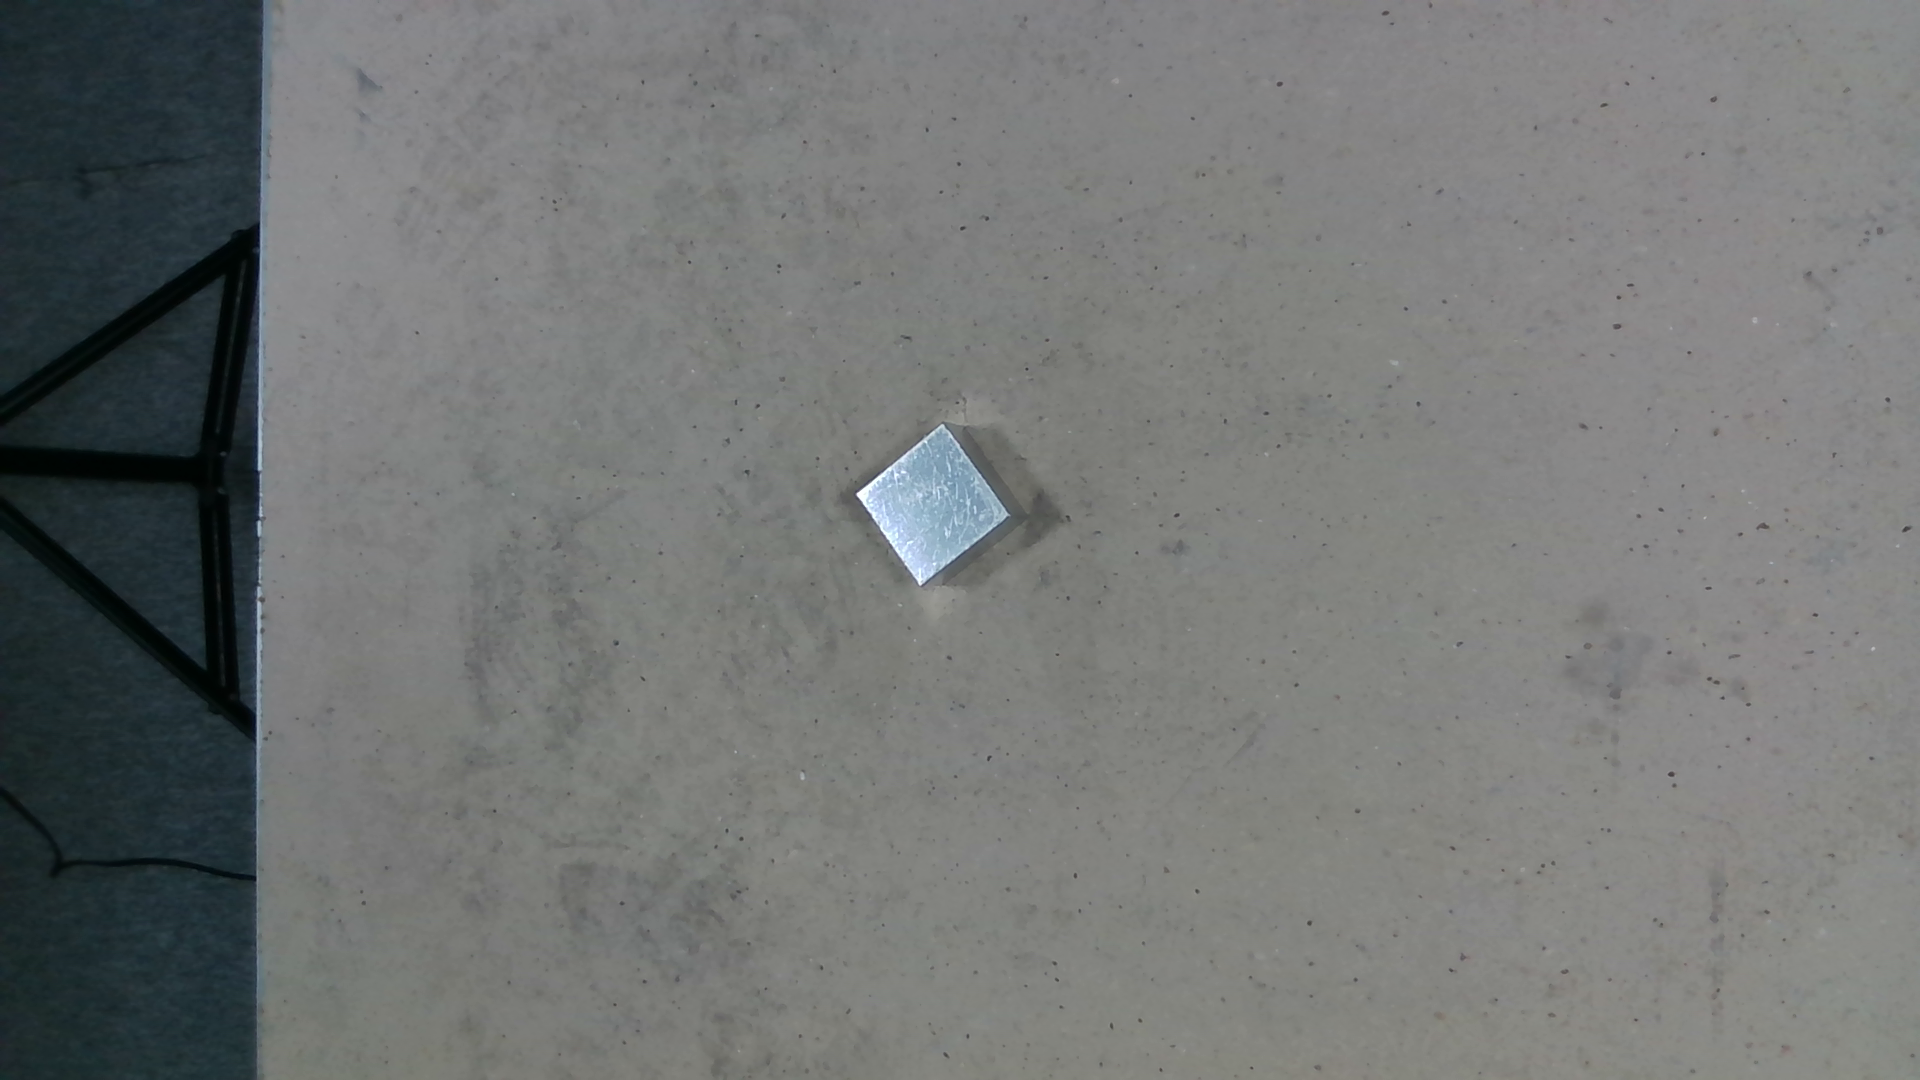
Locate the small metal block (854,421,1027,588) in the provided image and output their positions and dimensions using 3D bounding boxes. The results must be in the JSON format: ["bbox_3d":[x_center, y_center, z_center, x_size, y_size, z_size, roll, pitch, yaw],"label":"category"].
[{"bbox_3d":[-0.008,-0.015,0.589,0.050,0.025,0.050,-39,78,16],"label":"small metal block"}]
